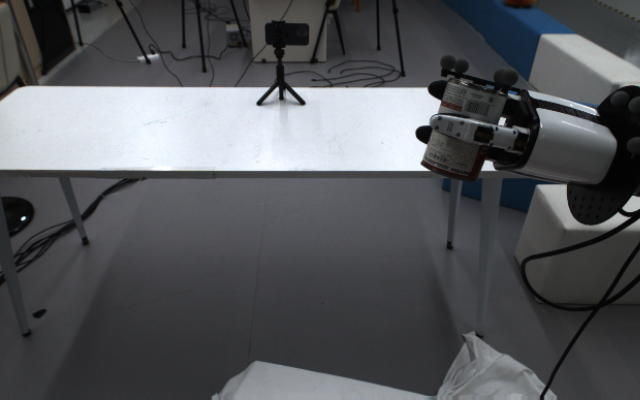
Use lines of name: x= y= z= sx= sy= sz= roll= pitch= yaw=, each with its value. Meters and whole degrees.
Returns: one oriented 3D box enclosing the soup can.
soup can: x=0.164 y=-0.080 z=0.549 sx=0.067 sy=0.101 sz=0.067 roll=13 pitch=18 yaw=-4
